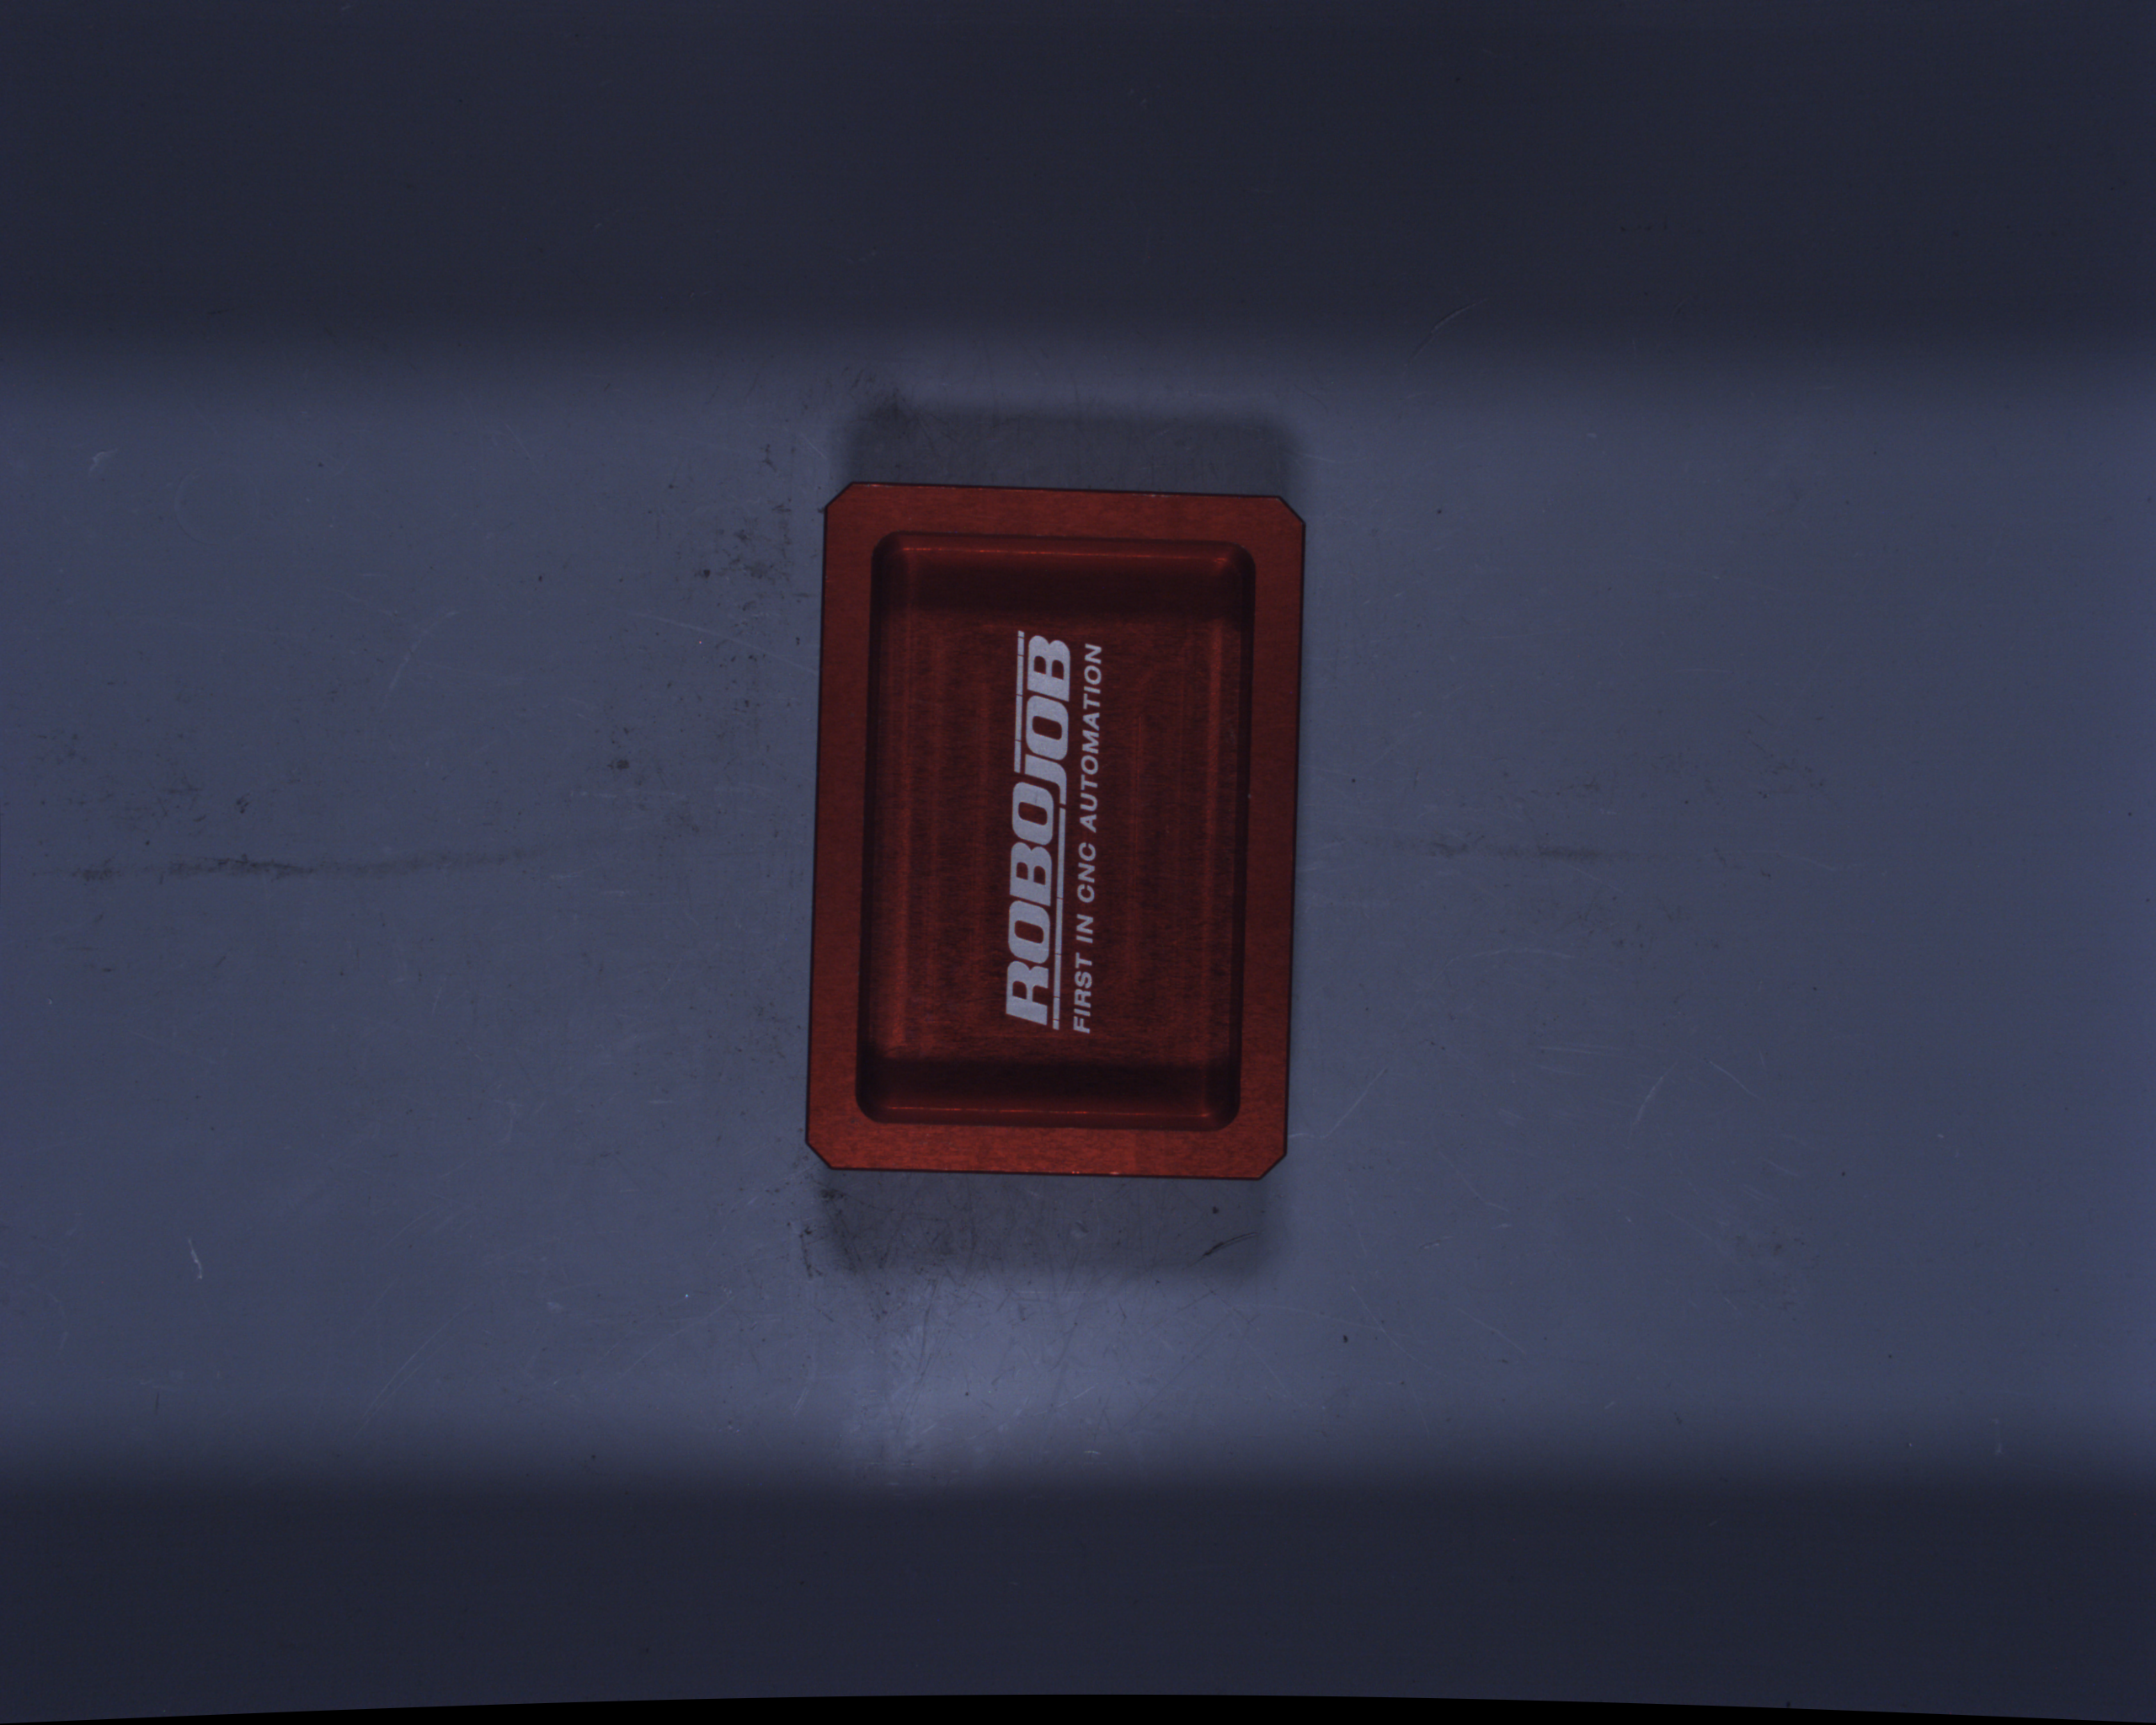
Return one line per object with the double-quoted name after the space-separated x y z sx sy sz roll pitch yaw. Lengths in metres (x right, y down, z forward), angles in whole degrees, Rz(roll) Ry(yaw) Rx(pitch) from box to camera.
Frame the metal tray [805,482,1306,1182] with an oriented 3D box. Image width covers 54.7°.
-0.004 -0.006 0.406 0.091 0.030 0.129 2 90 -1 "metal tray"
